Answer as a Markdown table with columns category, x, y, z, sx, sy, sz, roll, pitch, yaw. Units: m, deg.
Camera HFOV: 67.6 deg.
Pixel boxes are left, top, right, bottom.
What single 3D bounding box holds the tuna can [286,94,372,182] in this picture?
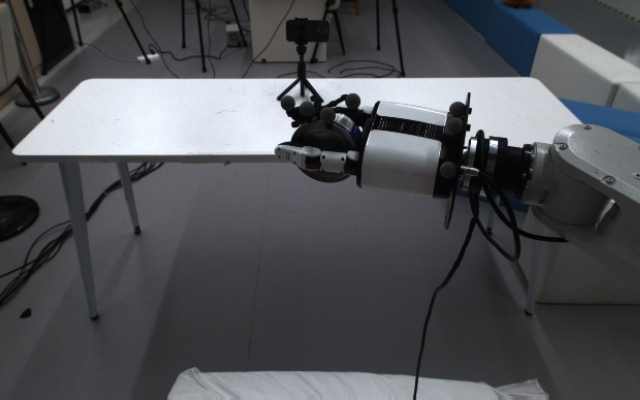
| category | x | y | z | sx | sy | sz | roll | pitch | yaw |
| --- | --- | --- | --- | --- | --- | --- | --- | --- | --- |
| tuna can | 0.011 | -0.066 | 0.592 | 0.085 | 0.085 | 0.034 | 11 | 39 | 13 |
